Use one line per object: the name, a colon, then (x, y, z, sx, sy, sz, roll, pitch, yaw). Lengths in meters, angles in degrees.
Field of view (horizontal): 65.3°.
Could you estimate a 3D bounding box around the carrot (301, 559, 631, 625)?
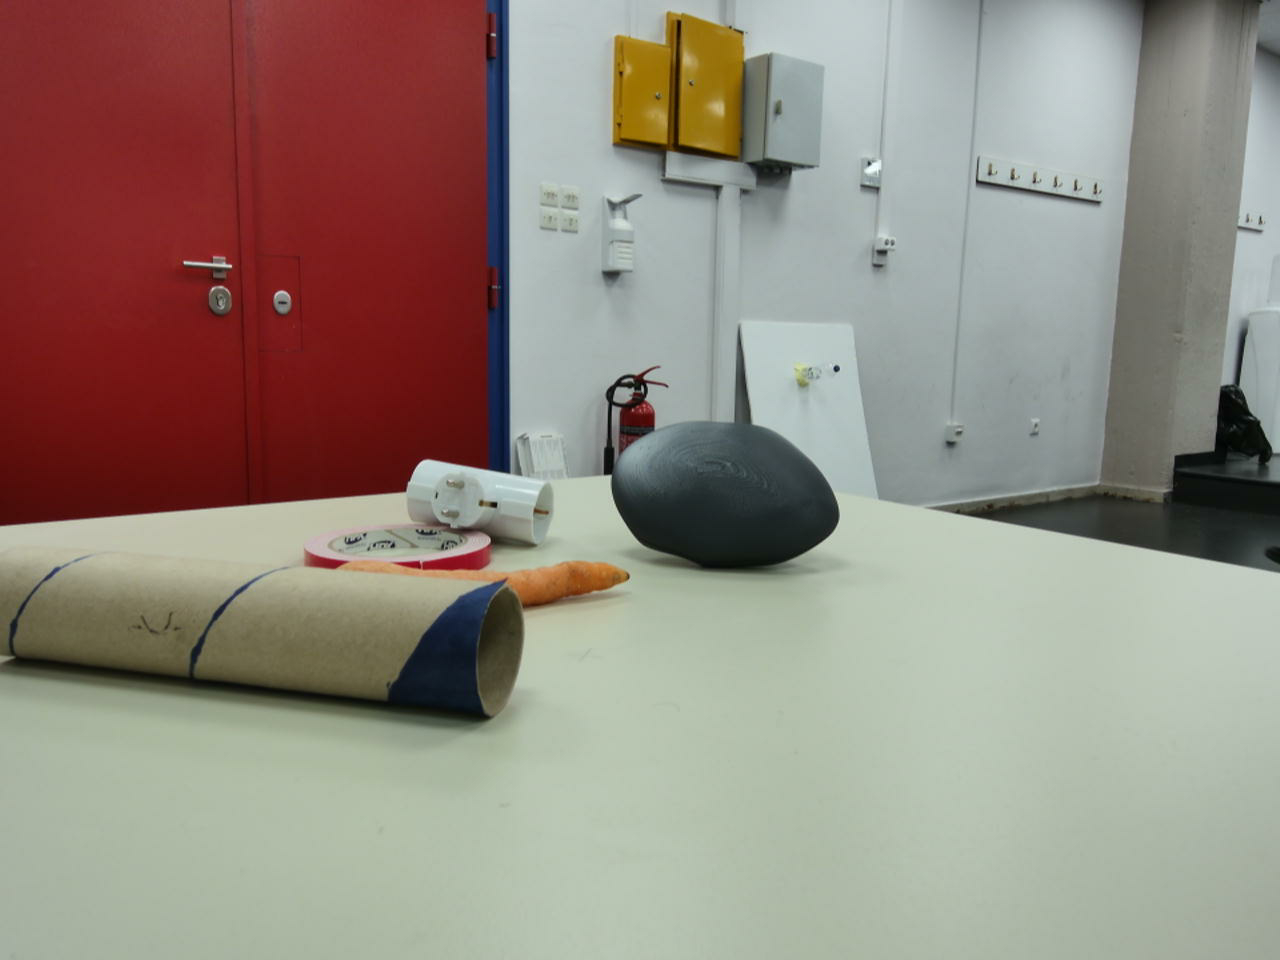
carrot: (-0.081, 0.051, 0.501, 0.173, 0.032, 0.030, -3, 7, -28)
